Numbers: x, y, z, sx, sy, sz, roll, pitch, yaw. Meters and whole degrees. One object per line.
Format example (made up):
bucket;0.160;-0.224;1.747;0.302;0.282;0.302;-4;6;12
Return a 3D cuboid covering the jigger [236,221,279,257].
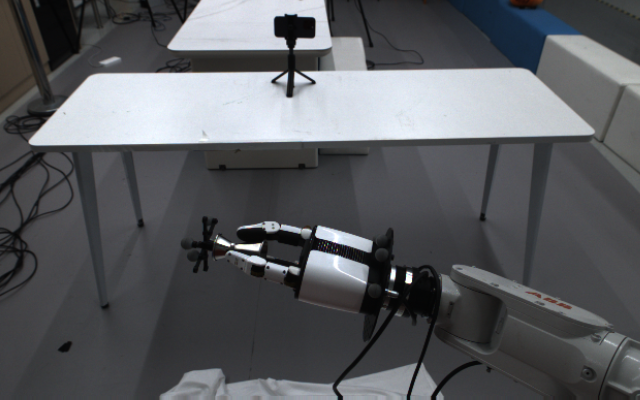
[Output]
jigger;-0.104;0.066;0.680;0.071;0.043;0.043;8;35;6
